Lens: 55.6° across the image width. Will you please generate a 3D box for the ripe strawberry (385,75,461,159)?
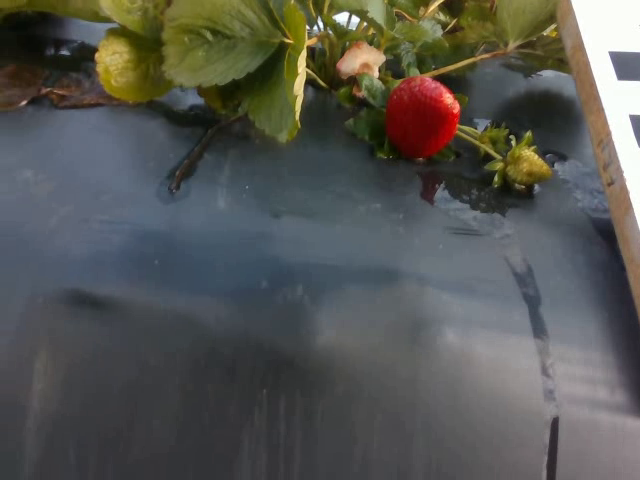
[{"bbox_3d":[0.063,-0.072,0.337,0.043,0.052,0.057,-24,2,-10],"label":"ripe strawberry"}]
